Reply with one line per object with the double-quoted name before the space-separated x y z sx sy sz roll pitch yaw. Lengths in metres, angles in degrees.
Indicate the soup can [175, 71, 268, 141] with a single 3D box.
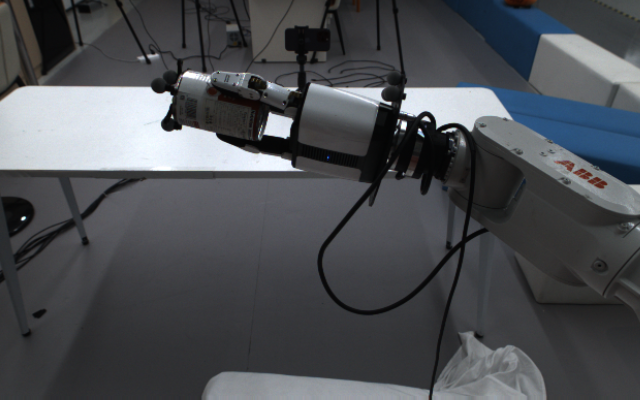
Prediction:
"soup can" -0.114 -0.111 0.581 0.101 0.067 0.067 13 35 -1
